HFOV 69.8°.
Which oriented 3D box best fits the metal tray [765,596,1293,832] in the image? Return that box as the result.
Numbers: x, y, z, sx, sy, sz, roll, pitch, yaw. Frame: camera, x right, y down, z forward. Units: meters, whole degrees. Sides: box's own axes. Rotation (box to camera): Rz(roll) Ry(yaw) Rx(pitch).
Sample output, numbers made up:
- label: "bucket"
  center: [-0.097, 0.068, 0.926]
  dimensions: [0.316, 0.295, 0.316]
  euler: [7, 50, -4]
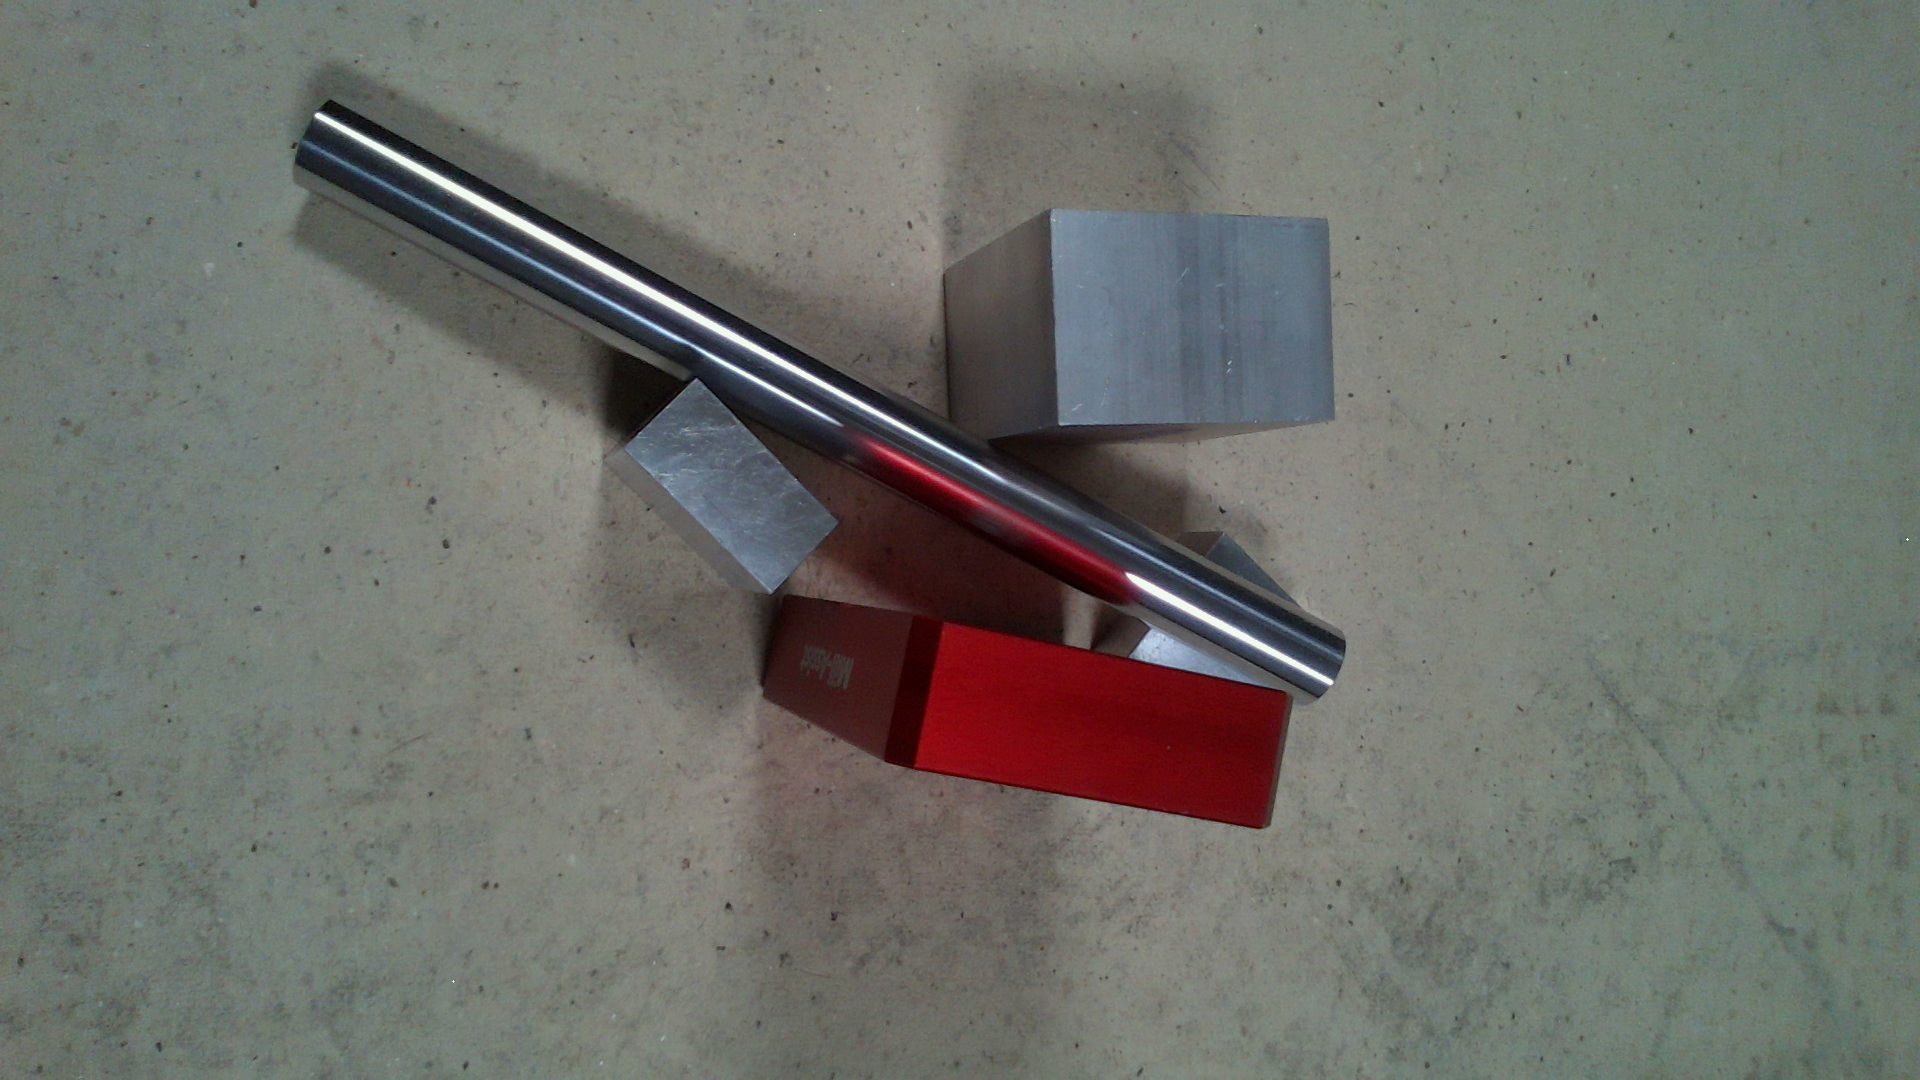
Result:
- label: "metal tray"
  center: [0.009, 0.039, 0.341]
  dimensions: [0.090, 0.130, 0.030]
  euler: [13, 86, -19]

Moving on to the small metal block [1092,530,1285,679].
- label: "small metal block"
  center: [0.077, 0.032, 0.422]
  dimensions: [0.050, 0.025, 0.050]
  euler: [43, 77, -15]

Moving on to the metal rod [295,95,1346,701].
- label: "metal rod"
  center: [-0.025, -0.031, 0.370]
  dimensions: [0.300, 0.025, 0.025]
  euler: [27, 81, -13]

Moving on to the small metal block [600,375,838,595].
- label: "small metal block"
  center: [-0.064, -0.013, 0.356]
  dimensions: [0.050, 0.050, 0.025]
  euler: [46, 76, -14]

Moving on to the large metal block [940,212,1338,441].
- label: "large metal block"
  center: [0.046, -0.055, 0.380]
  dimensions: [0.080, 0.080, 0.050]
  euler: [-2, 91, -20]
